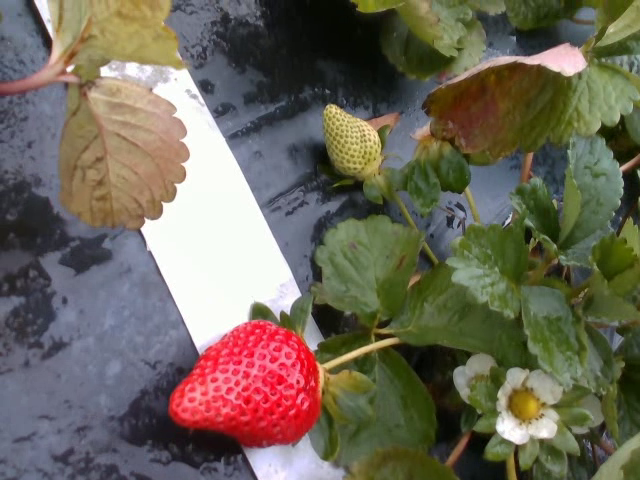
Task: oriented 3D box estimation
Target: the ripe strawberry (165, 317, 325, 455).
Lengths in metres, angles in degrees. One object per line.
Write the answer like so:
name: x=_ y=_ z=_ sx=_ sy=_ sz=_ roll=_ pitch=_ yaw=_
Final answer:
ripe strawberry: x=-0.022 y=0.040 z=0.166 sx=0.037 sy=0.042 sz=0.051 roll=9 pitch=7 yaw=41
